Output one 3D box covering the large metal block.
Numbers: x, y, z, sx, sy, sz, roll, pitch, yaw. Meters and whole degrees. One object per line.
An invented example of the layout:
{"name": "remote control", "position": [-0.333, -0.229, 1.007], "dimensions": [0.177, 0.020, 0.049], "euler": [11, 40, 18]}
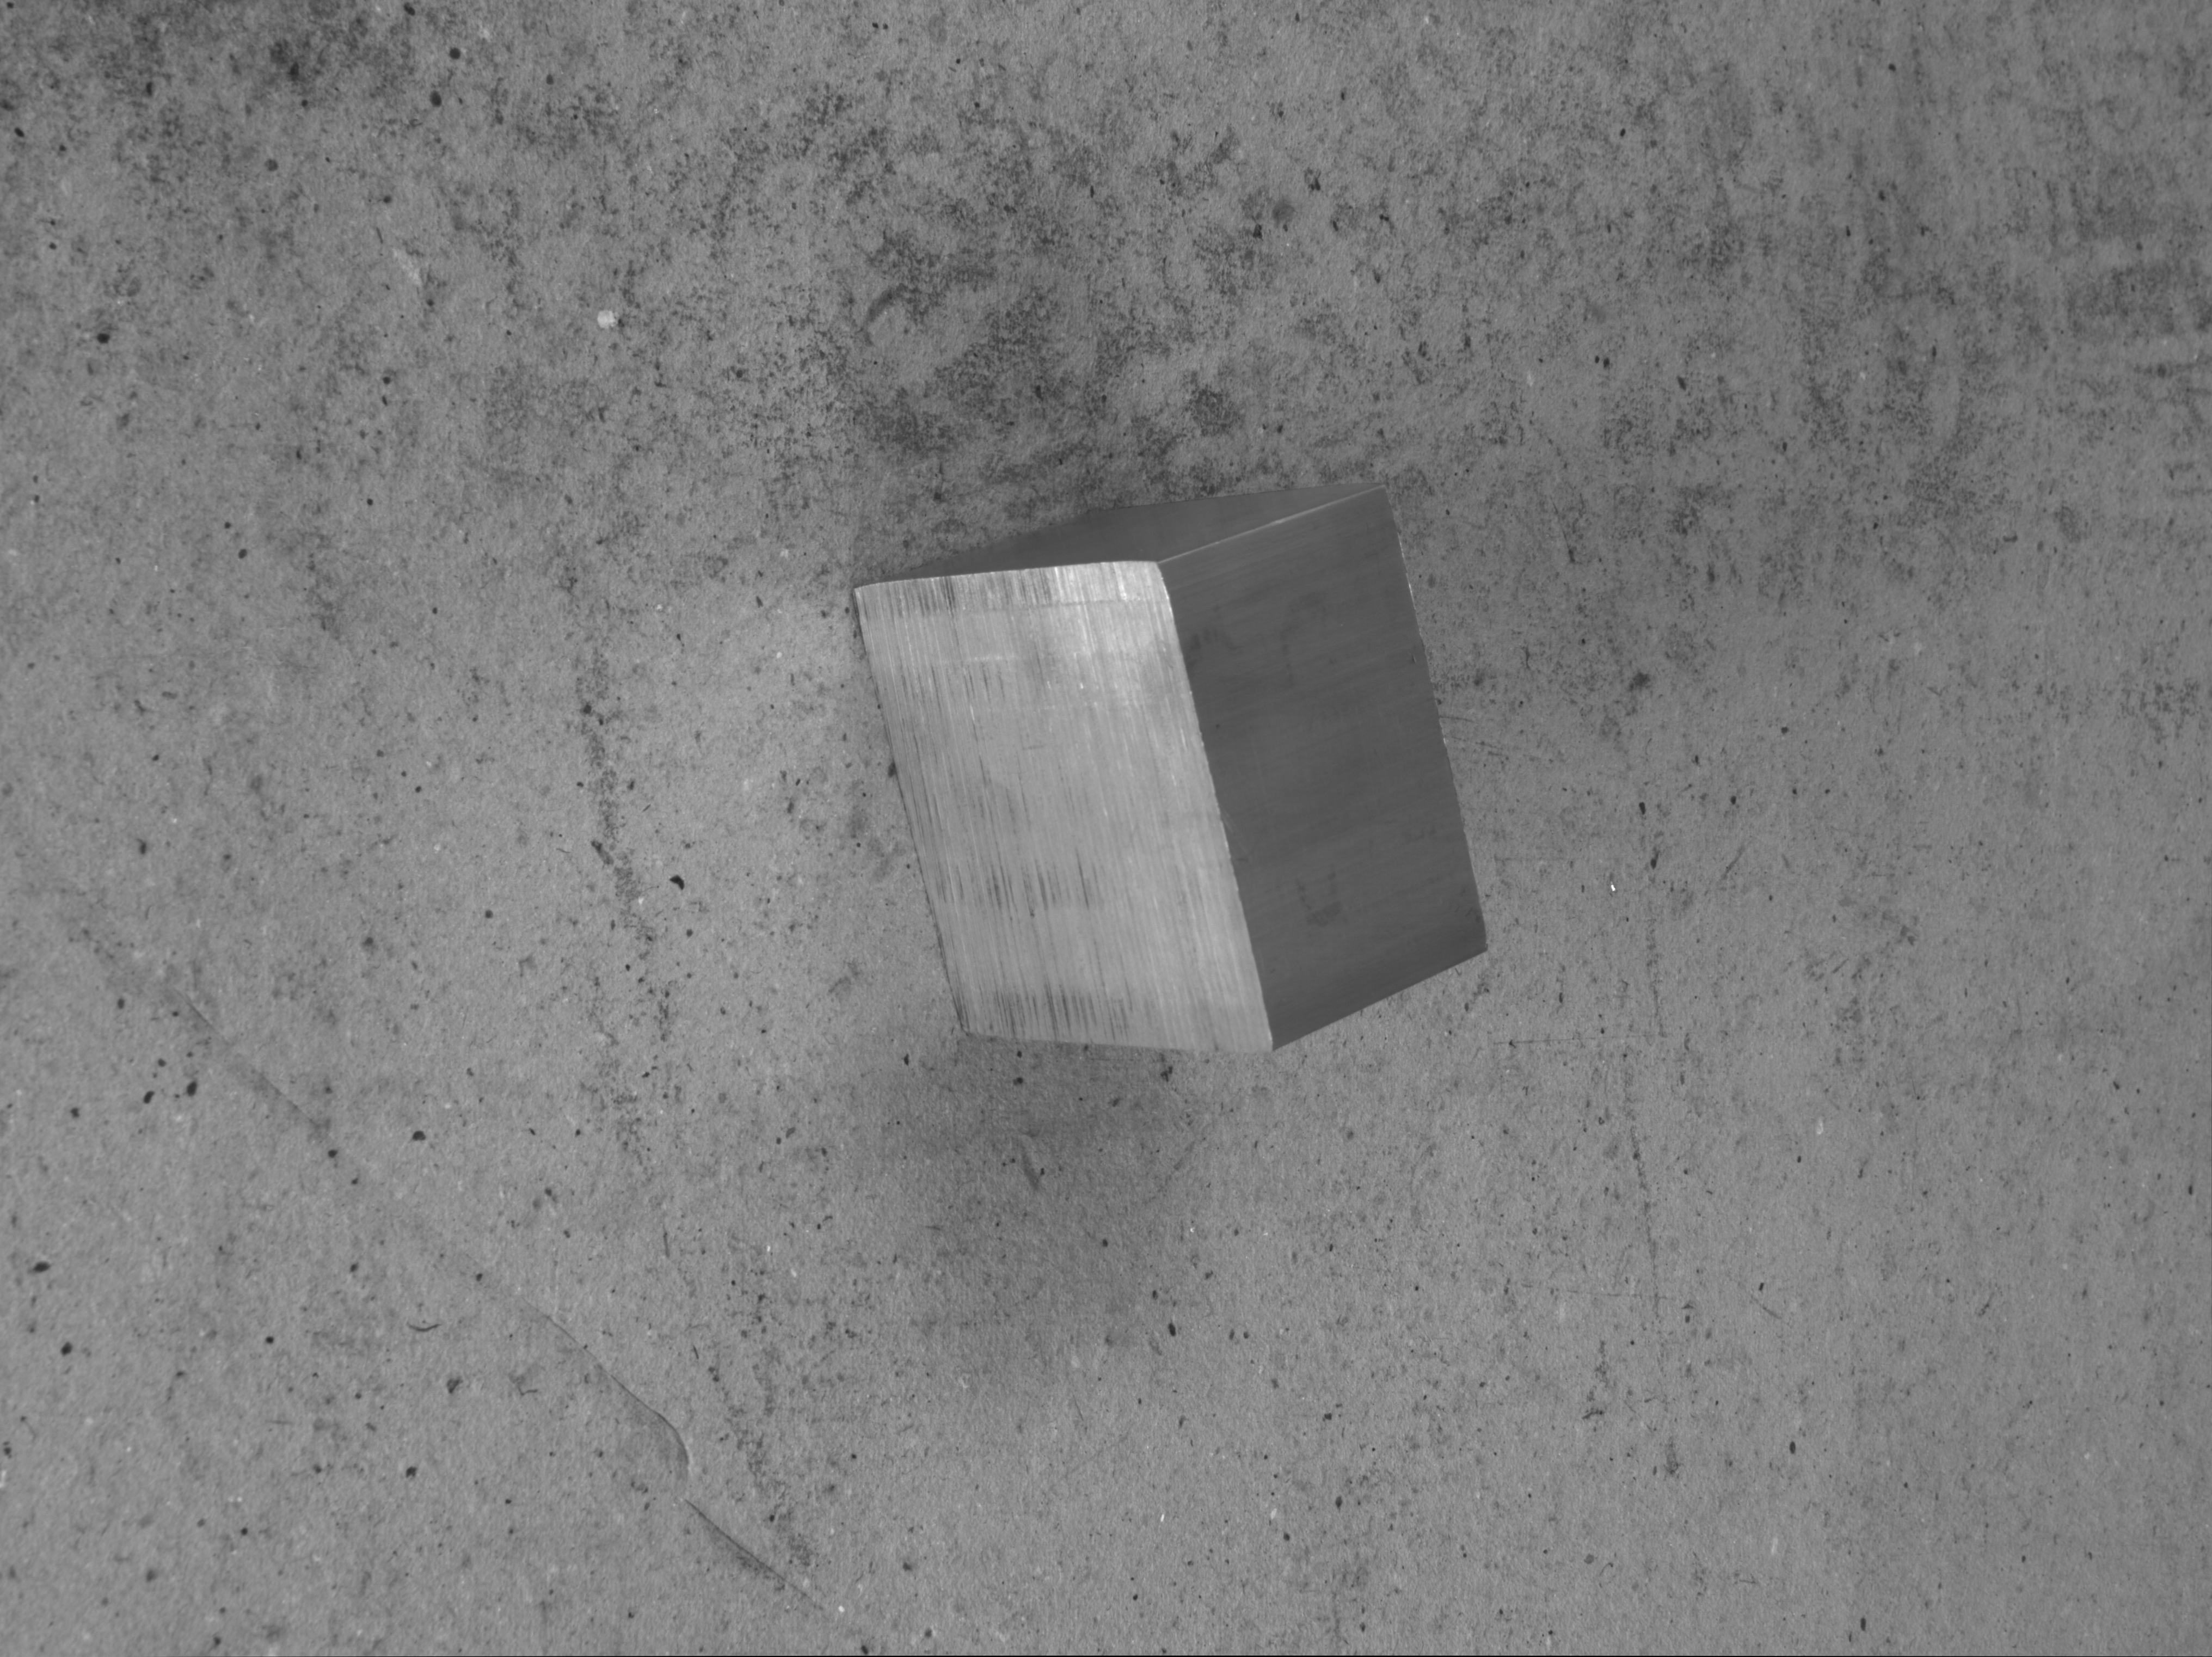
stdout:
{"name": "large metal block", "position": [0.010, -0.010, 0.609], "dimensions": [0.050, 0.080, 0.080], "euler": [-22, 104, -38]}
